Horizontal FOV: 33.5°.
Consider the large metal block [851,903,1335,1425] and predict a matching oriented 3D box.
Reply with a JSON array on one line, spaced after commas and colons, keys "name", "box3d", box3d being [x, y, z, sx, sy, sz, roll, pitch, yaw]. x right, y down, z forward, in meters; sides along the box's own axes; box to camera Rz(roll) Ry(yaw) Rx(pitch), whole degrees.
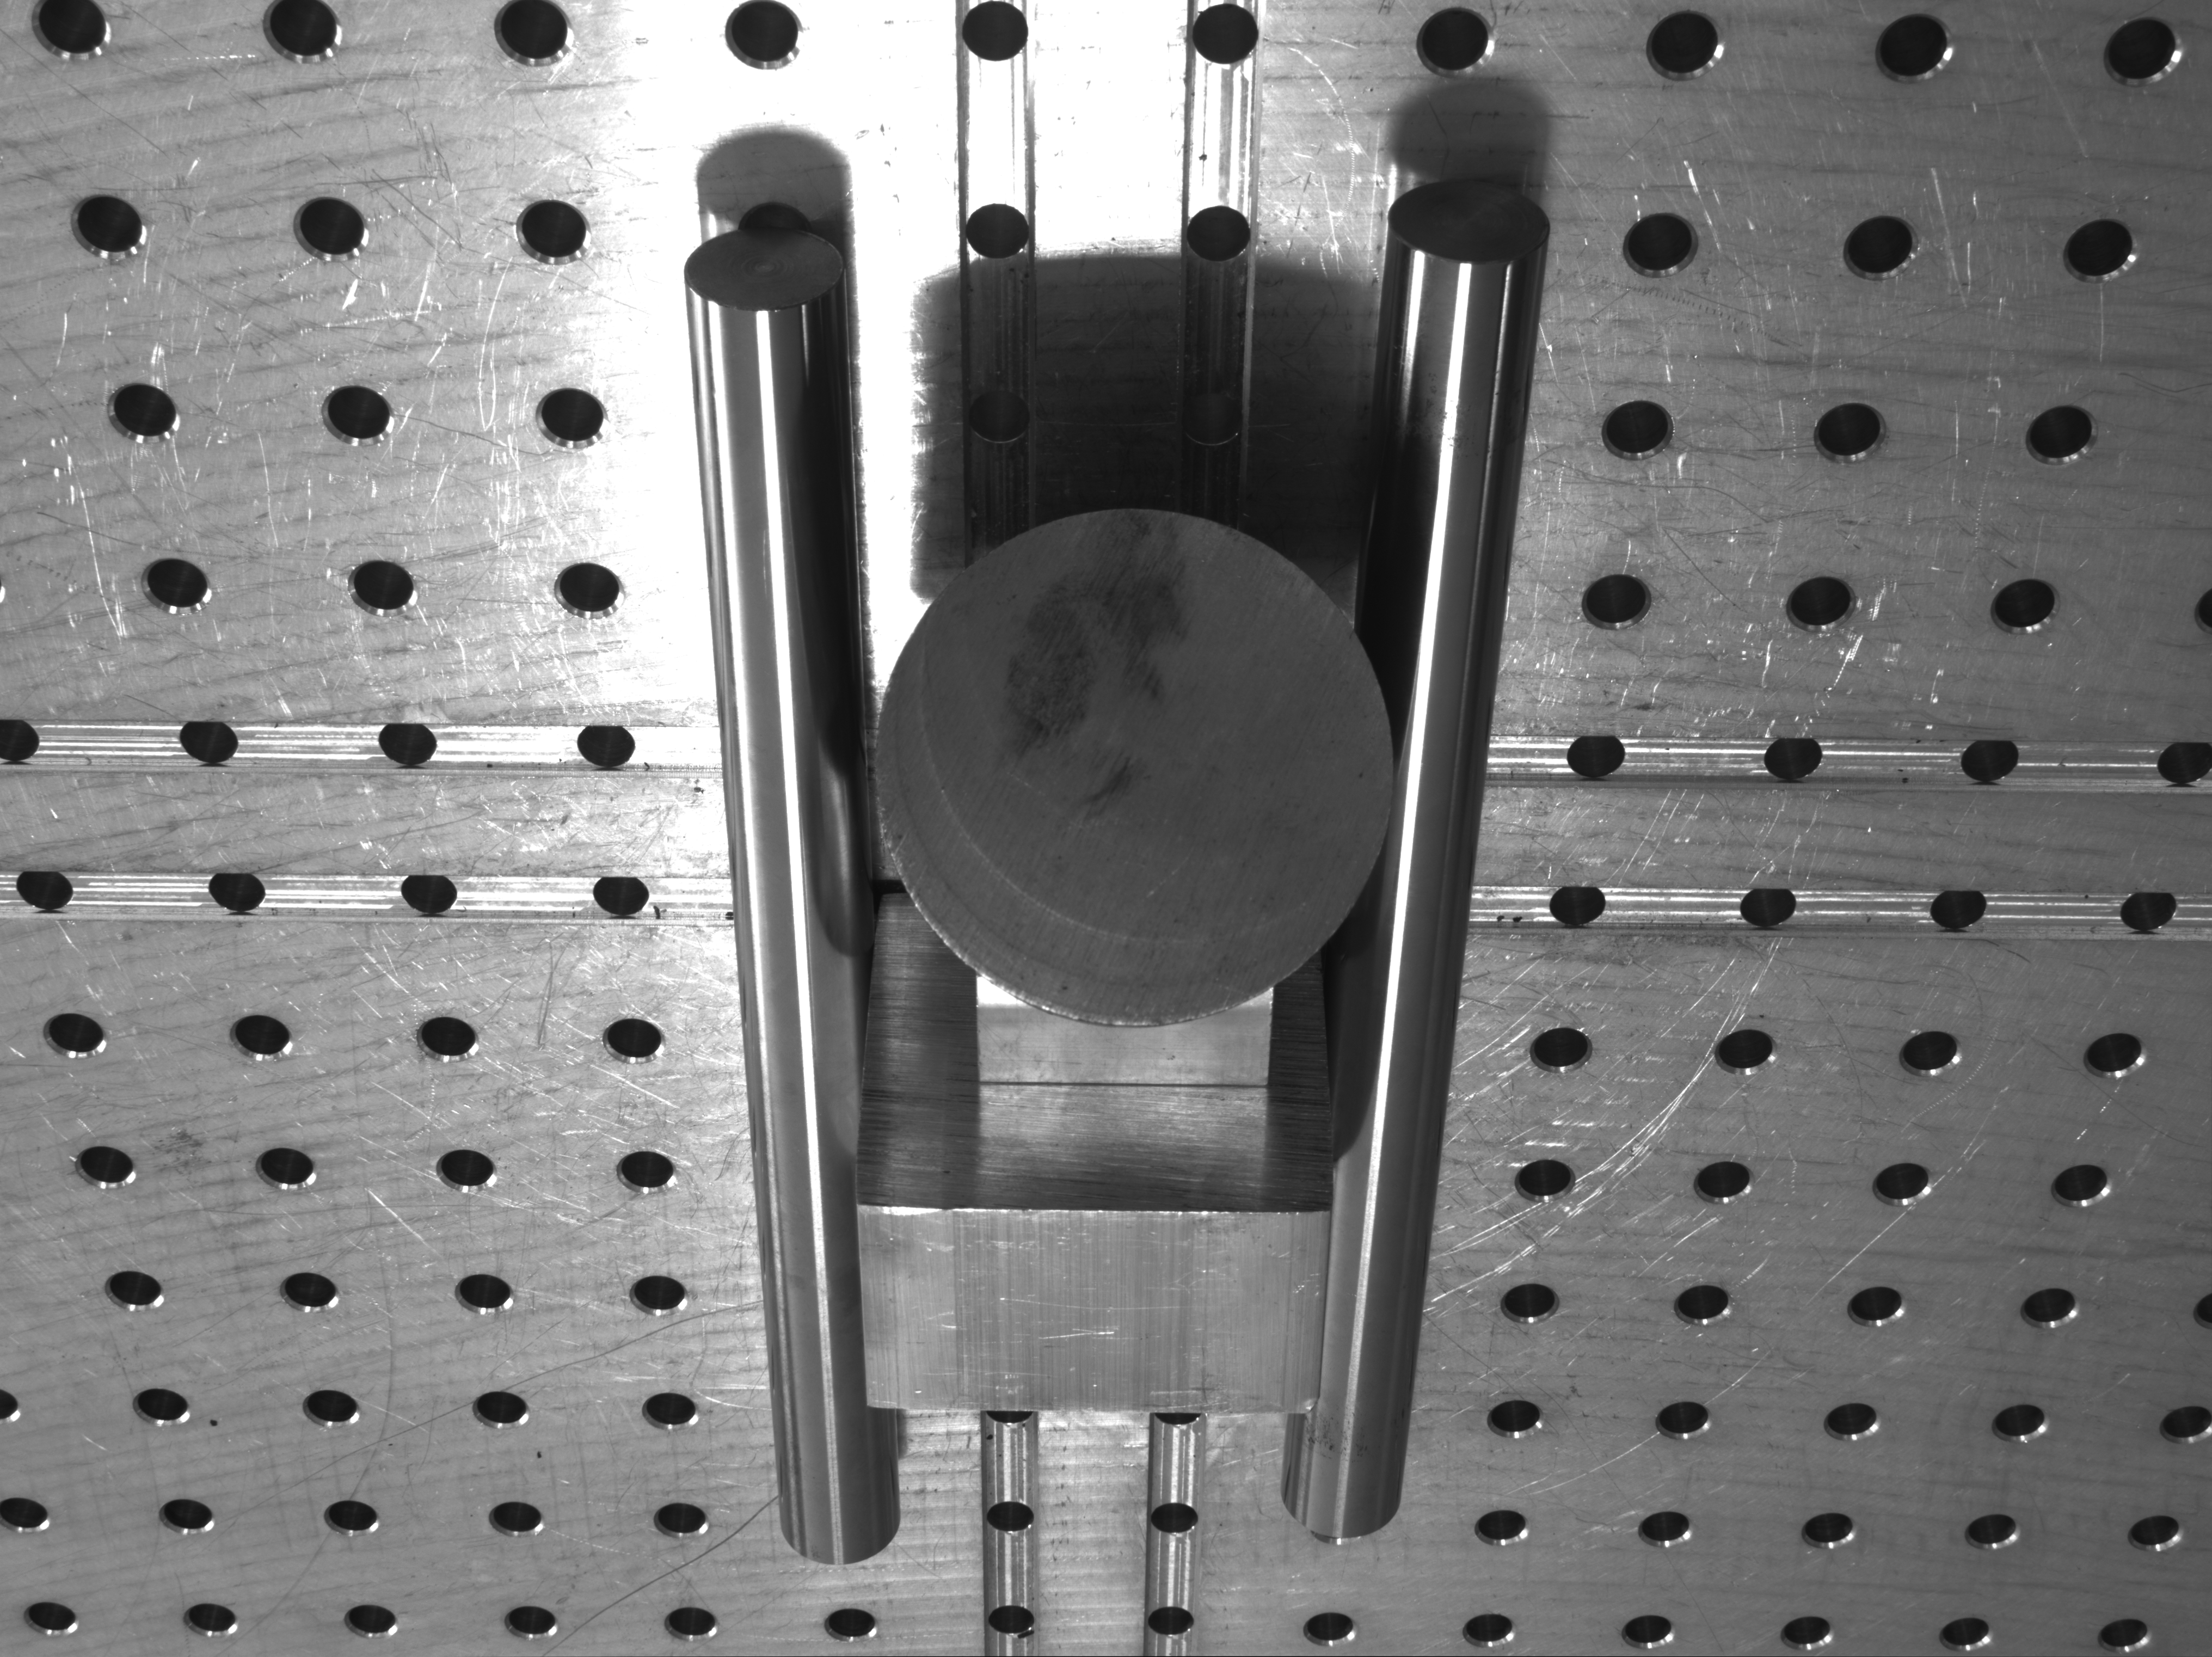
[{"name": "large metal block", "box3d": [-0.002, 0.059, 0.653, 0.080, 0.080, 0.050, 1, 130, 0]}]

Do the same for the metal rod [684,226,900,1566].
[{"name": "metal rod", "box3d": [-0.054, 0.028, 0.666, 0.025, 0.025, 0.300, 0, 130, 0]}]

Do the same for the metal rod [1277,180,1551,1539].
[{"name": "metal rod", "box3d": [0.052, 0.022, 0.661, 0.025, 0.025, 0.300, 1, 130, -1]}]

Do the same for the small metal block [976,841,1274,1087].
[{"name": "small metal block", "box3d": [0.003, 0.018, 0.642, 0.050, 0.050, 0.025, 1, 130, -1]}]

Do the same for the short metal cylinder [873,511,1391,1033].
[{"name": "short metal cylinder", "box3d": [0.004, -0.007, 0.592, 0.080, 0.050, 0.080, 0, 86, -1]}]
